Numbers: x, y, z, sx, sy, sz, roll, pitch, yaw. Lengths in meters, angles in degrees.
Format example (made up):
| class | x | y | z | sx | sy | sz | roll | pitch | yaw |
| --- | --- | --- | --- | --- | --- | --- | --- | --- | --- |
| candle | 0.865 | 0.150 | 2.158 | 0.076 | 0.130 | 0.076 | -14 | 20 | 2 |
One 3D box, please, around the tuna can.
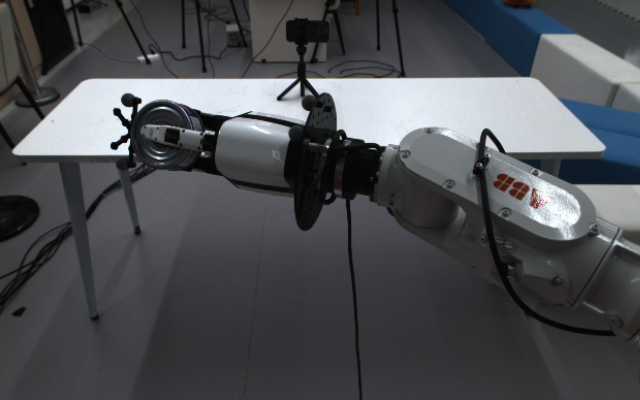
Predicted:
| class | x | y | z | sx | sy | sz | roll | pitch | yaw |
| --- | --- | --- | --- | --- | --- | --- | --- | --- | --- |
| tuna can | -0.185 | -0.076 | 0.593 | 0.085 | 0.085 | 0.034 | 10 | 3 | 11 |
